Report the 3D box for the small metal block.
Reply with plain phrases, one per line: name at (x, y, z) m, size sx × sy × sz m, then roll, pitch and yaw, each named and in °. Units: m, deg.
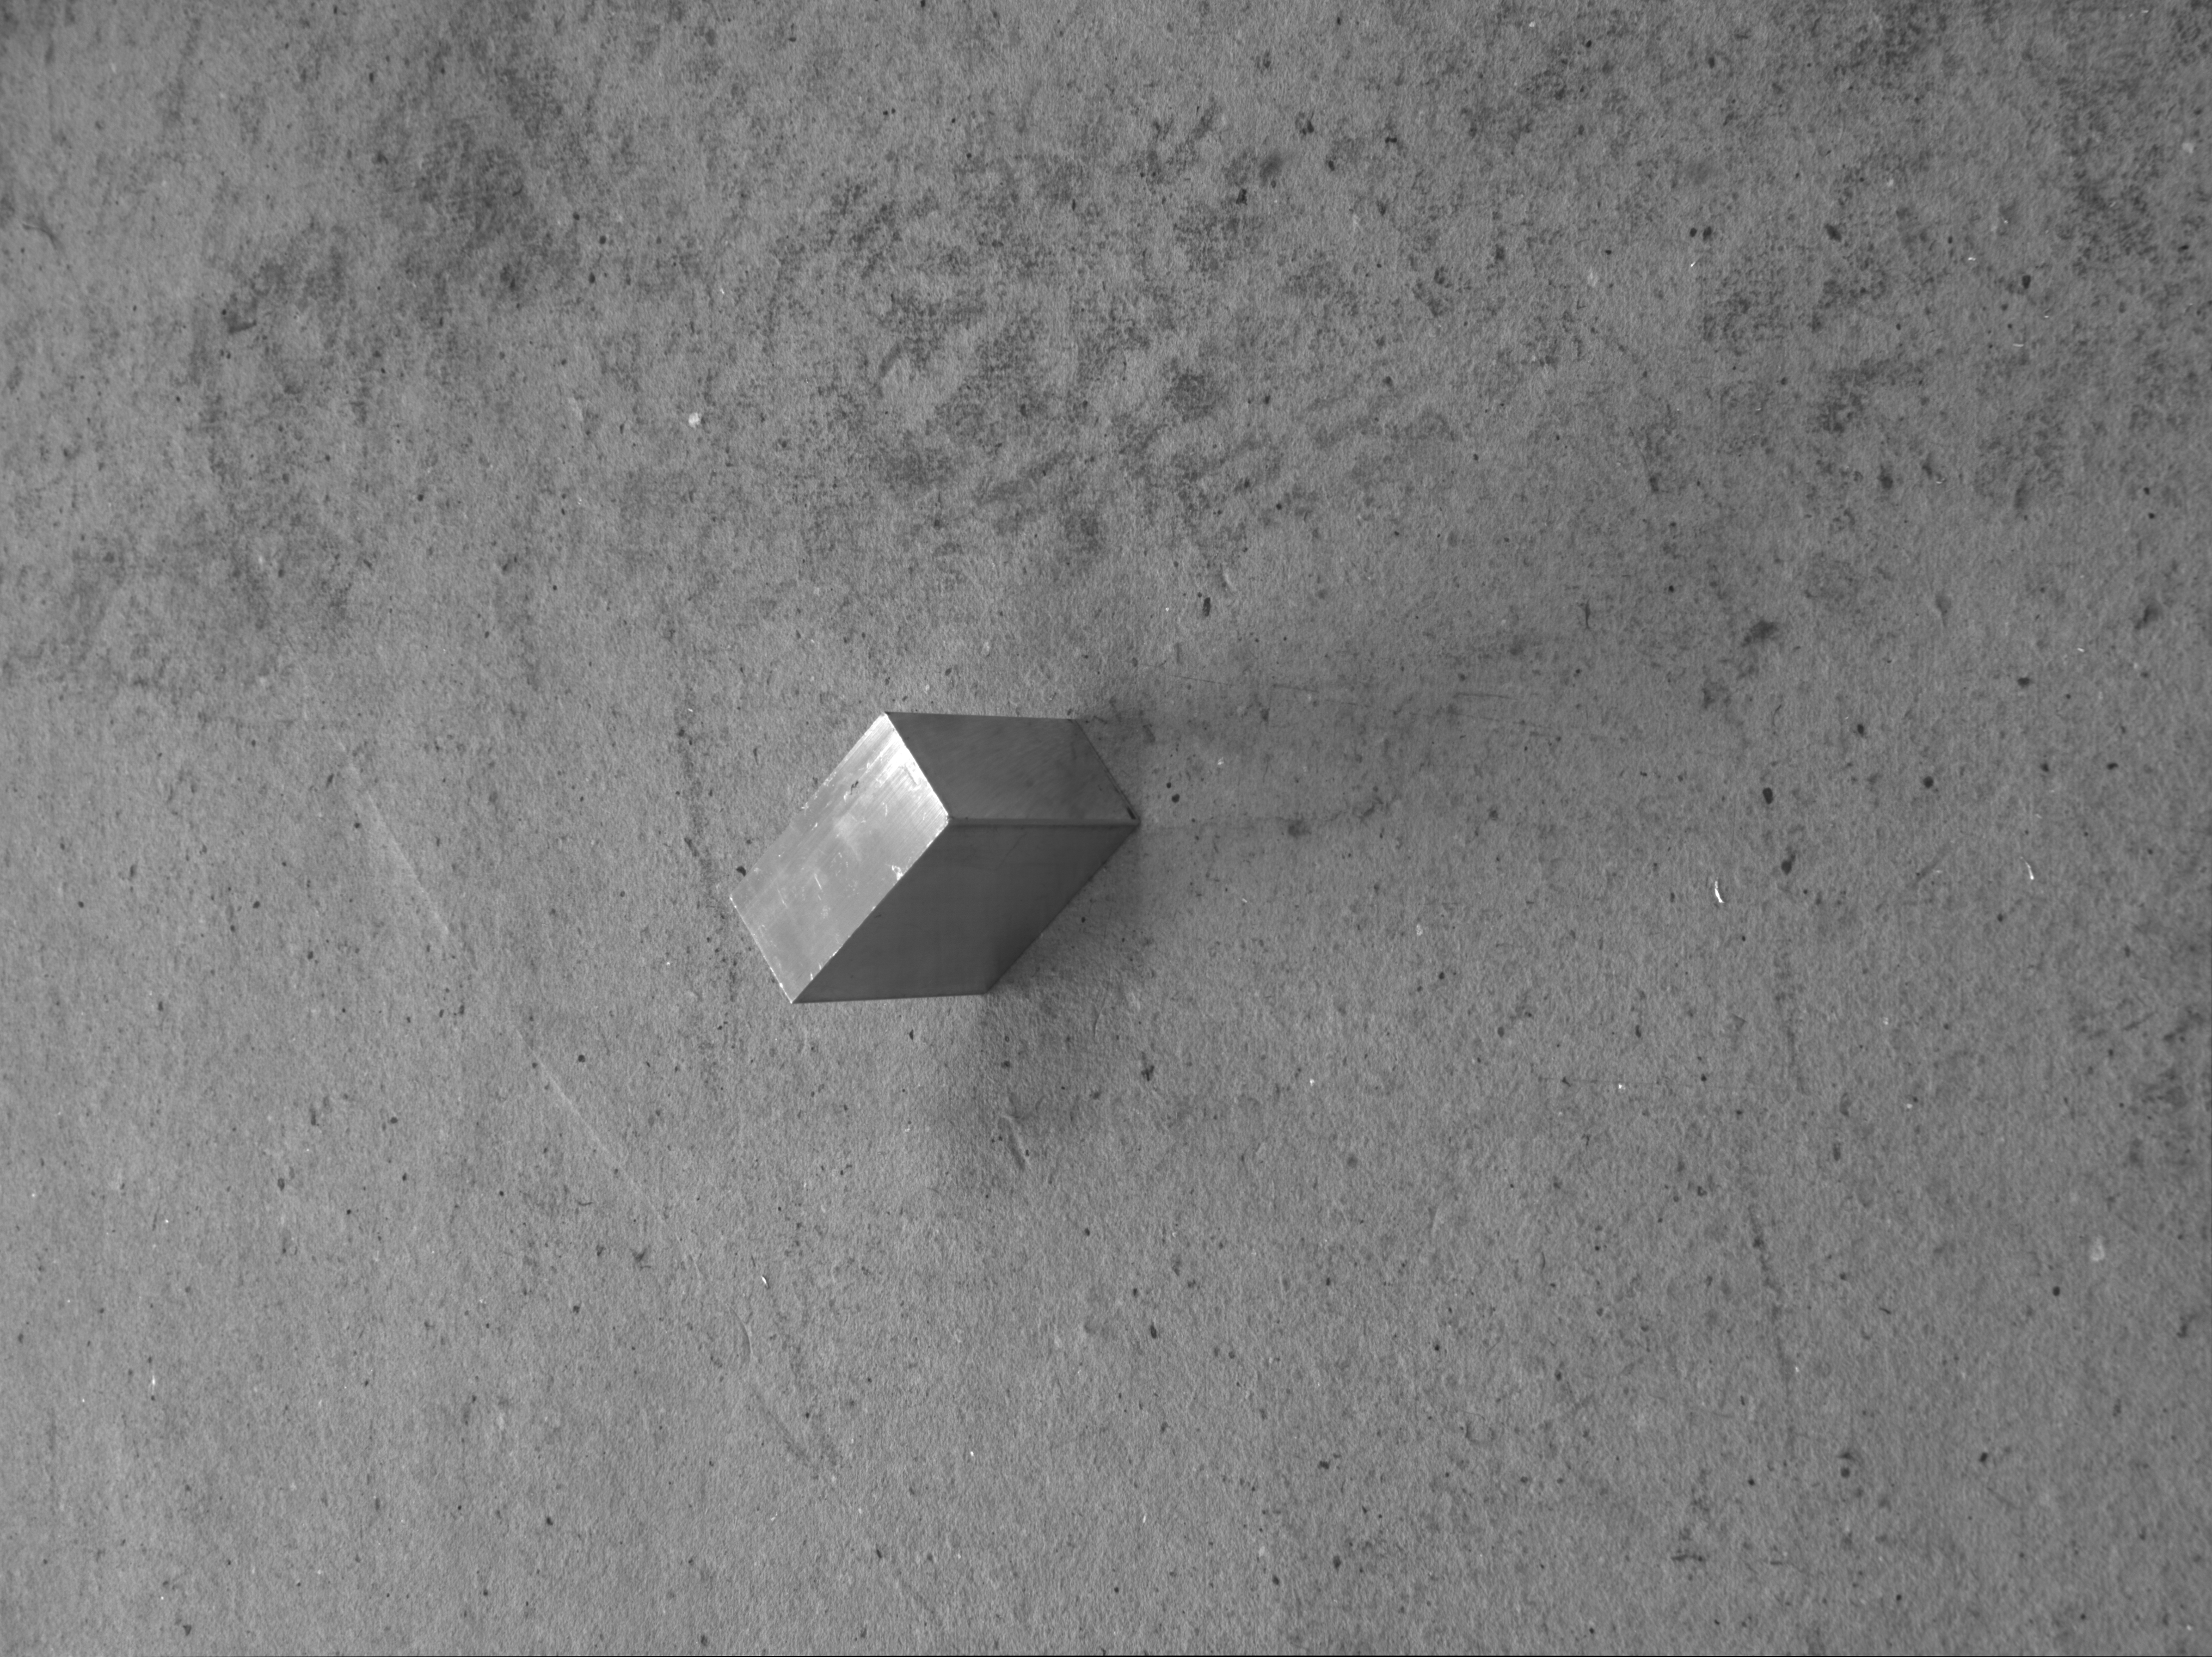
small metal block at (-0.030, 0.006, 0.655) m, size 0.050 × 0.050 × 0.025 m, roll -48°, pitch 62°, yaw 29°
